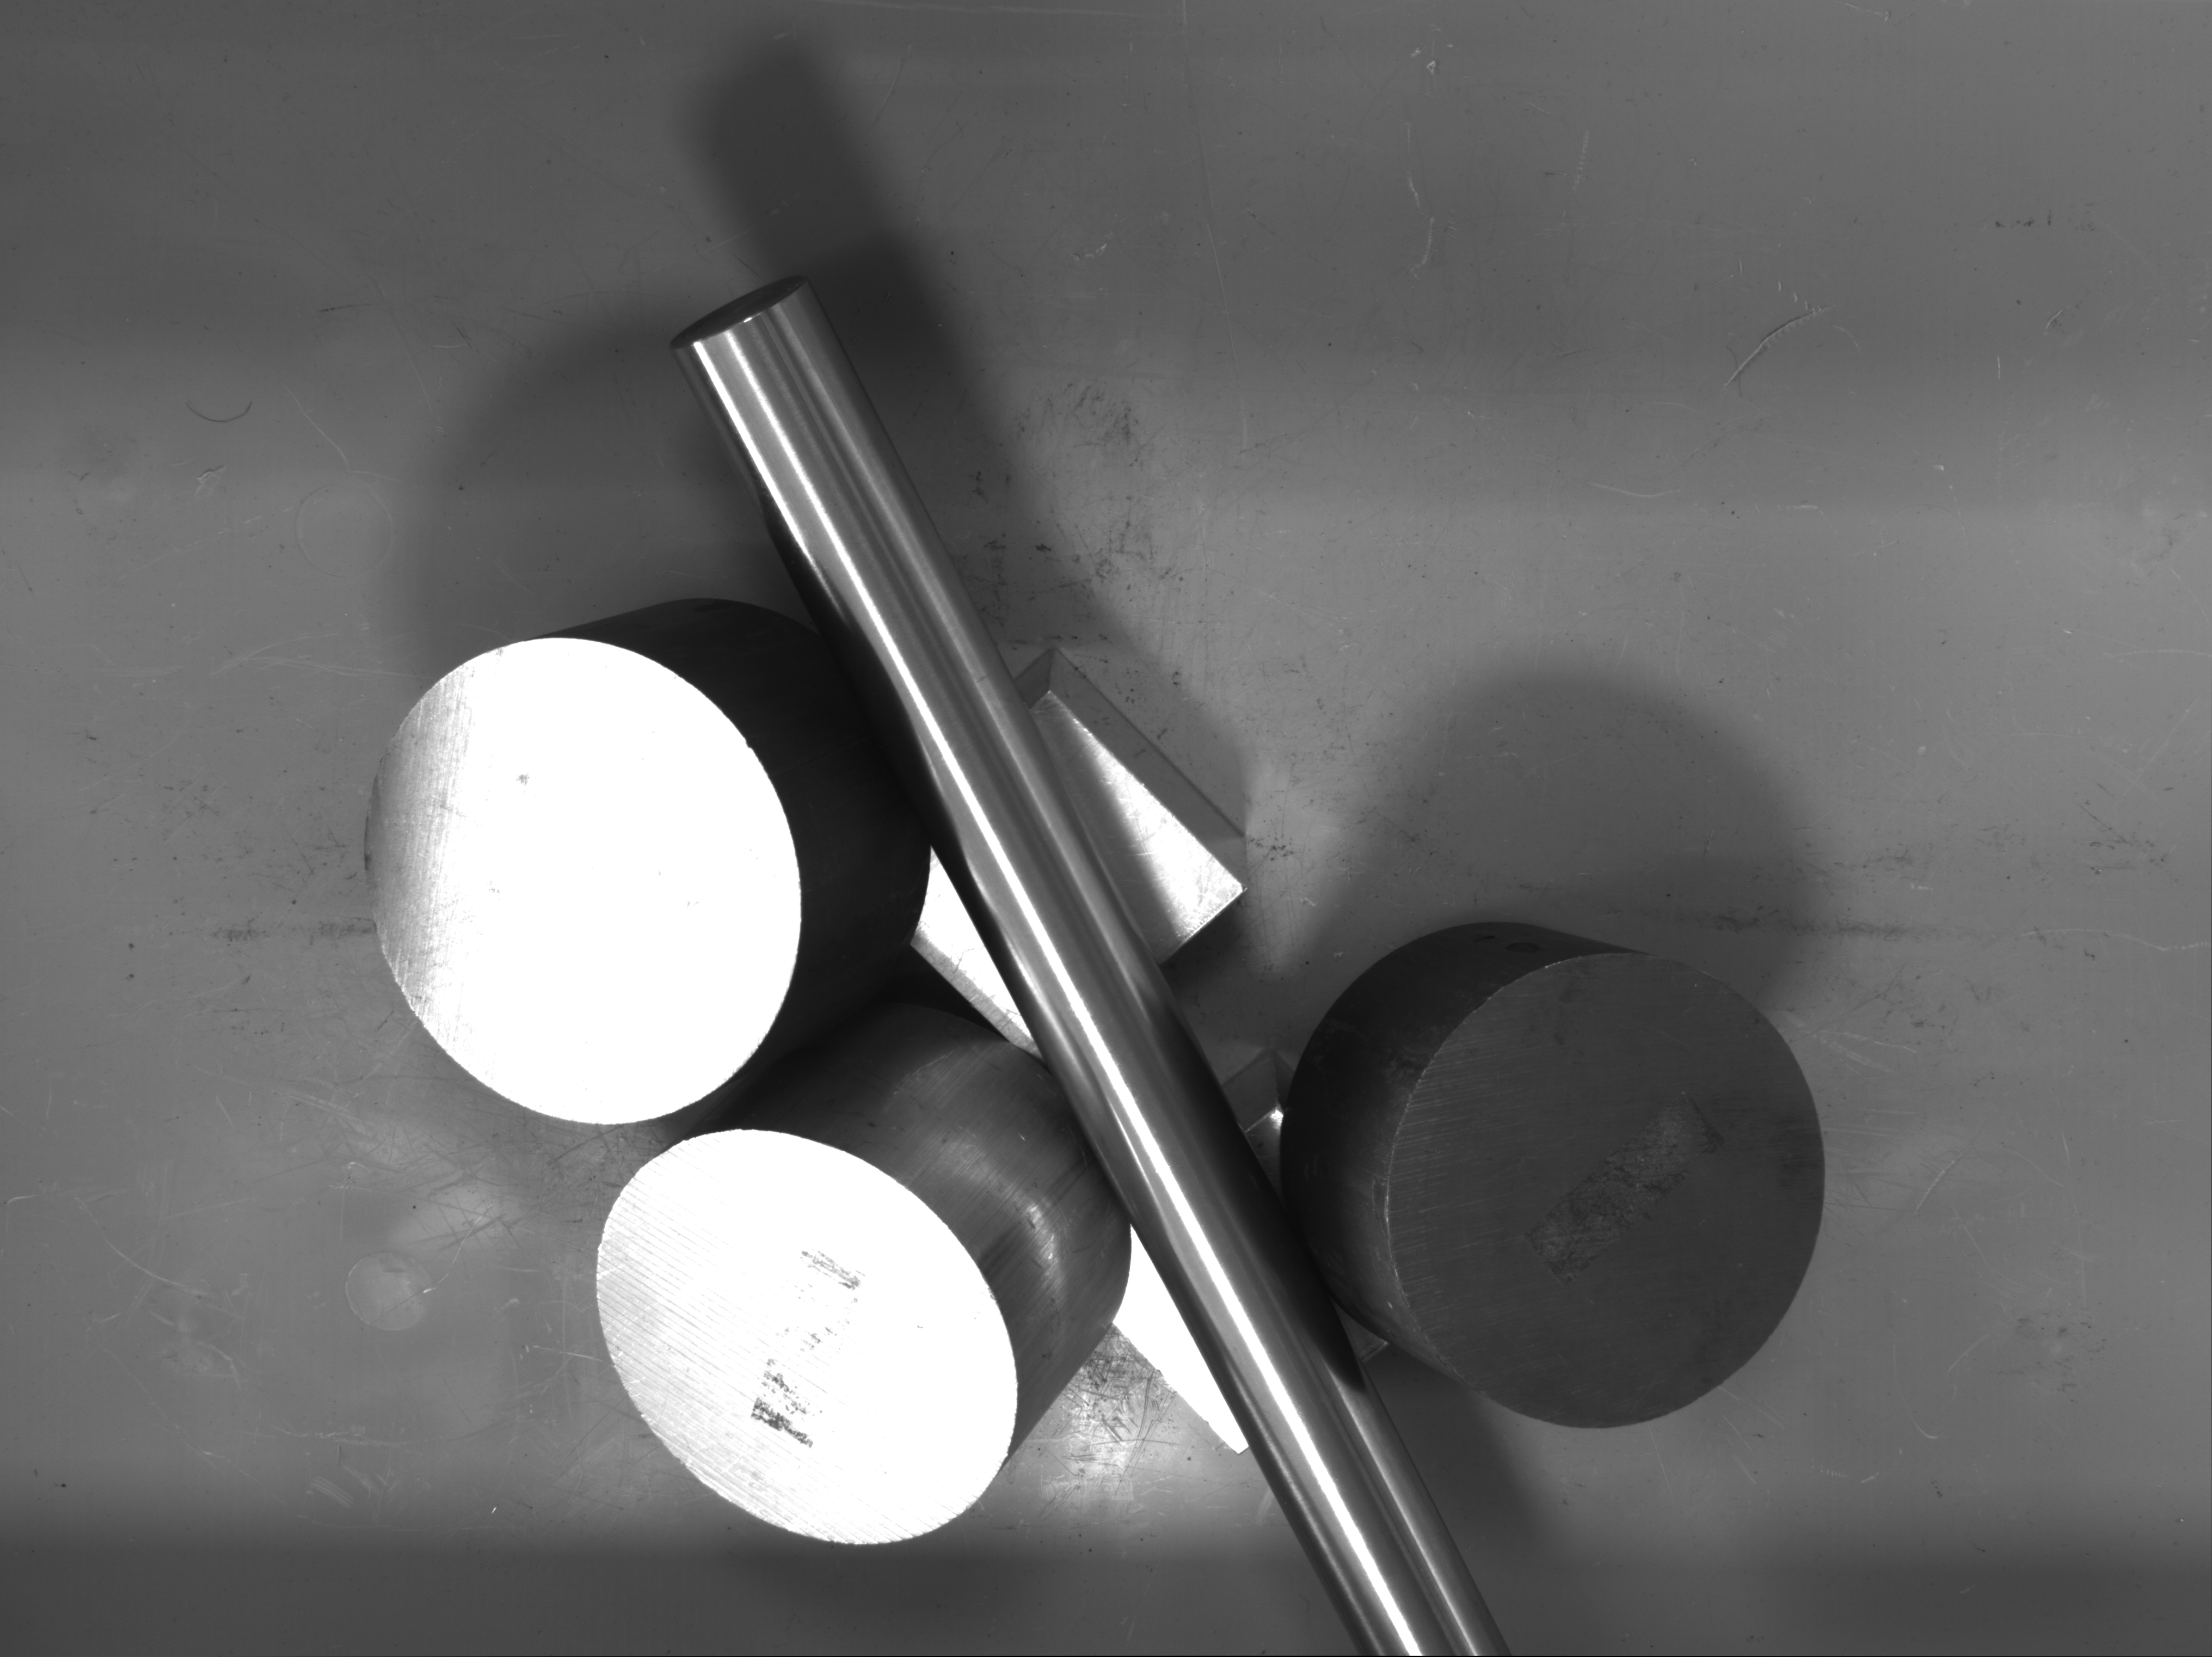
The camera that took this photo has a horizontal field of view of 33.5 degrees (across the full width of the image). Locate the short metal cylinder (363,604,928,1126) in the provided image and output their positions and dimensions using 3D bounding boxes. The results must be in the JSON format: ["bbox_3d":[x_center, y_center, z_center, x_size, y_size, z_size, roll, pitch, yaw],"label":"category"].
[{"bbox_3d":[-0.077,0.005,0.616,0.080,0.050,0.080,4,102,21],"label":"short metal cylinder"}]

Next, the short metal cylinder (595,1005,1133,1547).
[{"bbox_3d":[-0.042,0.078,0.643,0.080,0.050,0.080,10,116,21],"label":"short metal cylinder"}]

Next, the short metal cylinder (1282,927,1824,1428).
[{"bbox_3d":[0.077,0.059,0.637,0.080,0.050,0.080,-2,95,-18],"label":"short metal cylinder"}]

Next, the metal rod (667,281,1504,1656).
[{"bbox_3d":[0.006,0.045,0.632,0.025,0.025,0.300,-24,108,9],"label":"metal rod"}]

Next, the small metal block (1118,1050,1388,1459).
[{"bbox_3d":[0.027,0.078,0.671,0.050,0.025,0.050,-39,105,13],"label":"small metal block"}]

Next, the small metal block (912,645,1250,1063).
[{"bbox_3d":[-0.010,0.005,0.645,0.050,0.025,0.050,-41,105,14],"label":"small metal block"}]
